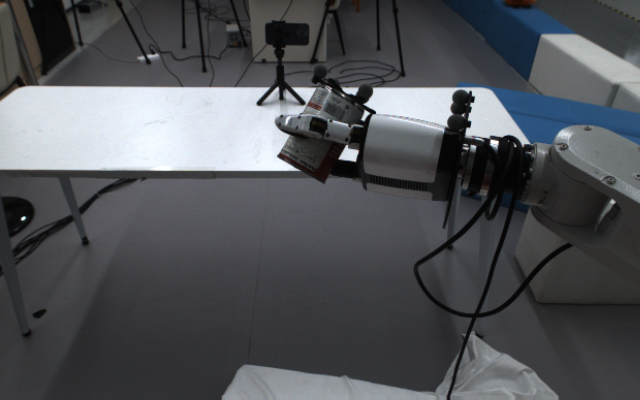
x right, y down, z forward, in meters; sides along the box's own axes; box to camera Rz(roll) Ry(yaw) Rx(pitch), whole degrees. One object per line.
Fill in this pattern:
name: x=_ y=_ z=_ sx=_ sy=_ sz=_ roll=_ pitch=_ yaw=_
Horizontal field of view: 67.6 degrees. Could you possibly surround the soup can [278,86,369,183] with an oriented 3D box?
soup can: x=0.002 y=-0.080 z=0.594 sx=0.067 sy=0.101 sz=0.067 roll=30 pitch=2 yaw=-1
